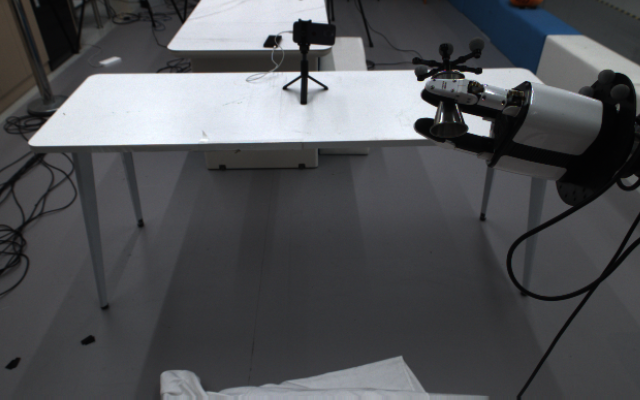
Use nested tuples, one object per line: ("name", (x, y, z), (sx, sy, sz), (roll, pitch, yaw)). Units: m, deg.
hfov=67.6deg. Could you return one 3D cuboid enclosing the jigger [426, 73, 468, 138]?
("jigger", (0.151, -0.114, 0.579), (0.043, 0.043, 0.071), (3, 75, 1))
